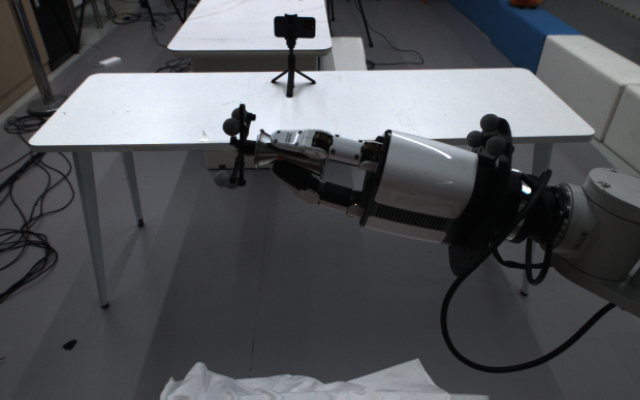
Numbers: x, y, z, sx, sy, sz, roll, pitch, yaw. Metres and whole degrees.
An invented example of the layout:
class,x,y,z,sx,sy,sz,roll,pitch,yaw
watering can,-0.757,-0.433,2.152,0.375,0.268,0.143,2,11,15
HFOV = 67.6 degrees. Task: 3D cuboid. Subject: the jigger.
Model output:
class,x,y,z,sx,sy,sz,roll,pitch,yaw
jigger,-0.021,-0.049,0.488,0.071,0.043,0.043,7,35,2
